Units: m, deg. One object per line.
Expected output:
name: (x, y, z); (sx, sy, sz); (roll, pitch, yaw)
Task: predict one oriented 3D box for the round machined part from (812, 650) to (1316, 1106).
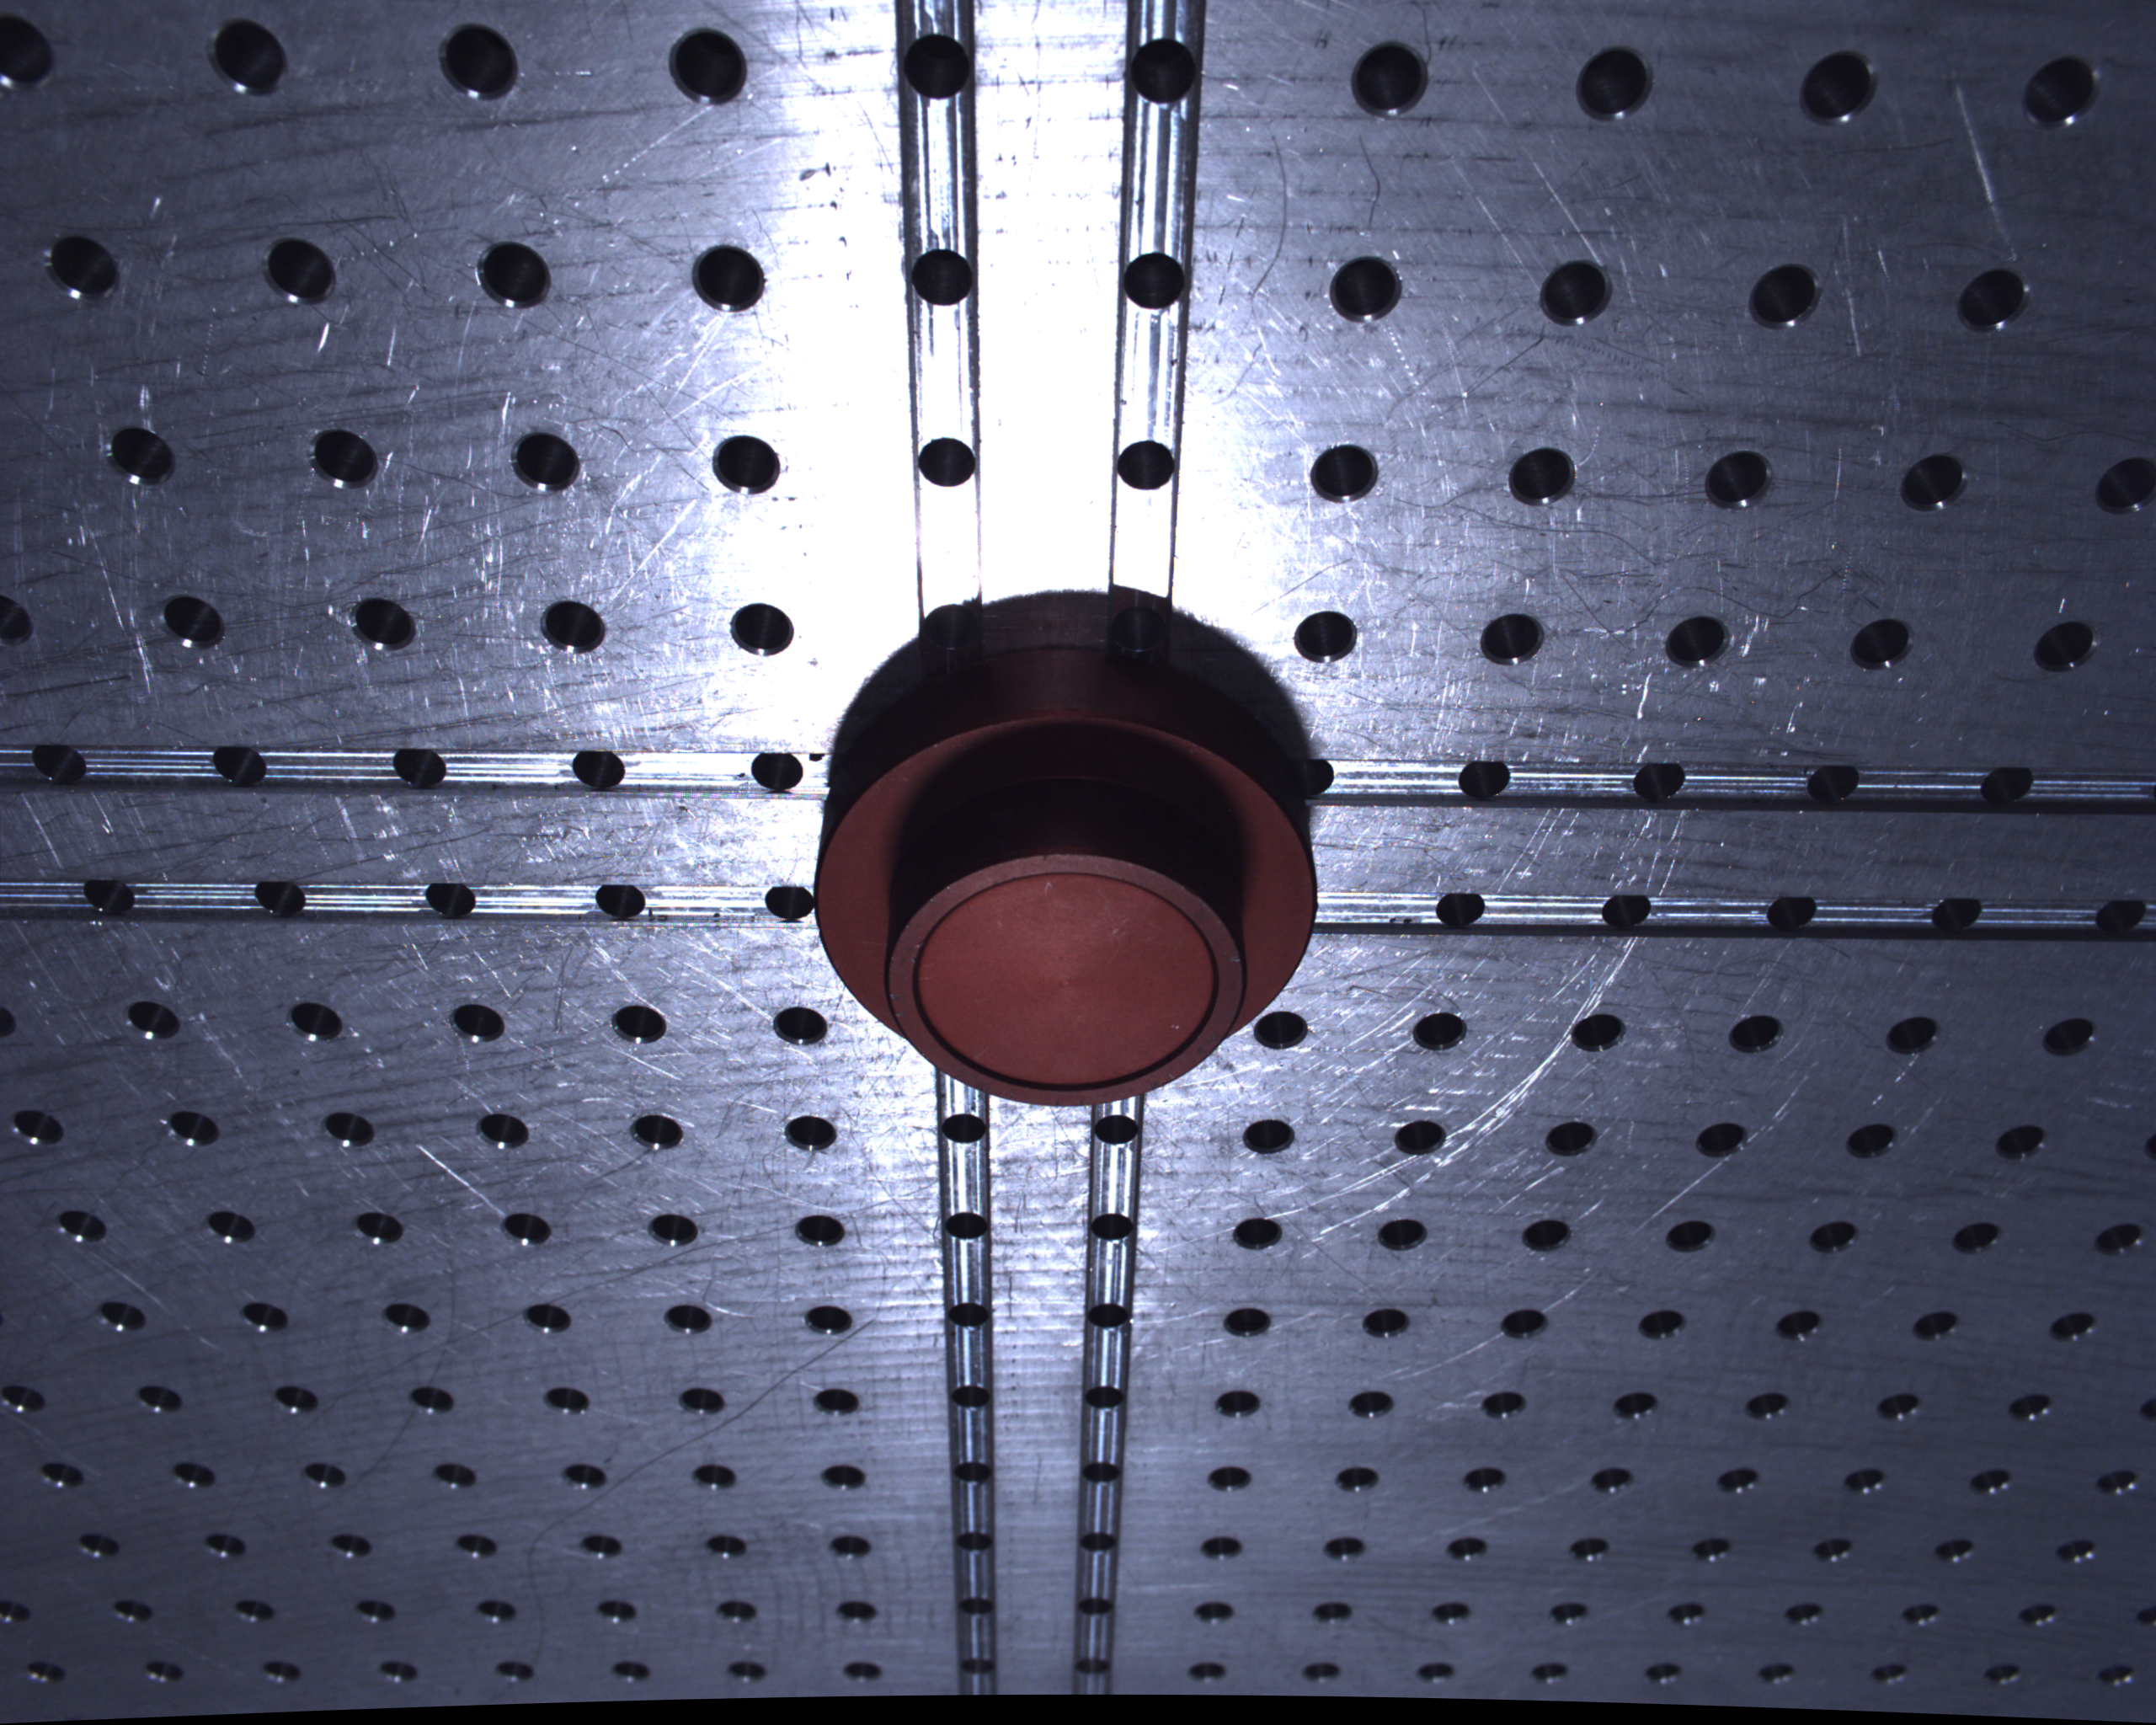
round machined part: (-0.003, 0.010, 0.408); (0.099, 0.042, 0.097); (-1, 130, 0)
